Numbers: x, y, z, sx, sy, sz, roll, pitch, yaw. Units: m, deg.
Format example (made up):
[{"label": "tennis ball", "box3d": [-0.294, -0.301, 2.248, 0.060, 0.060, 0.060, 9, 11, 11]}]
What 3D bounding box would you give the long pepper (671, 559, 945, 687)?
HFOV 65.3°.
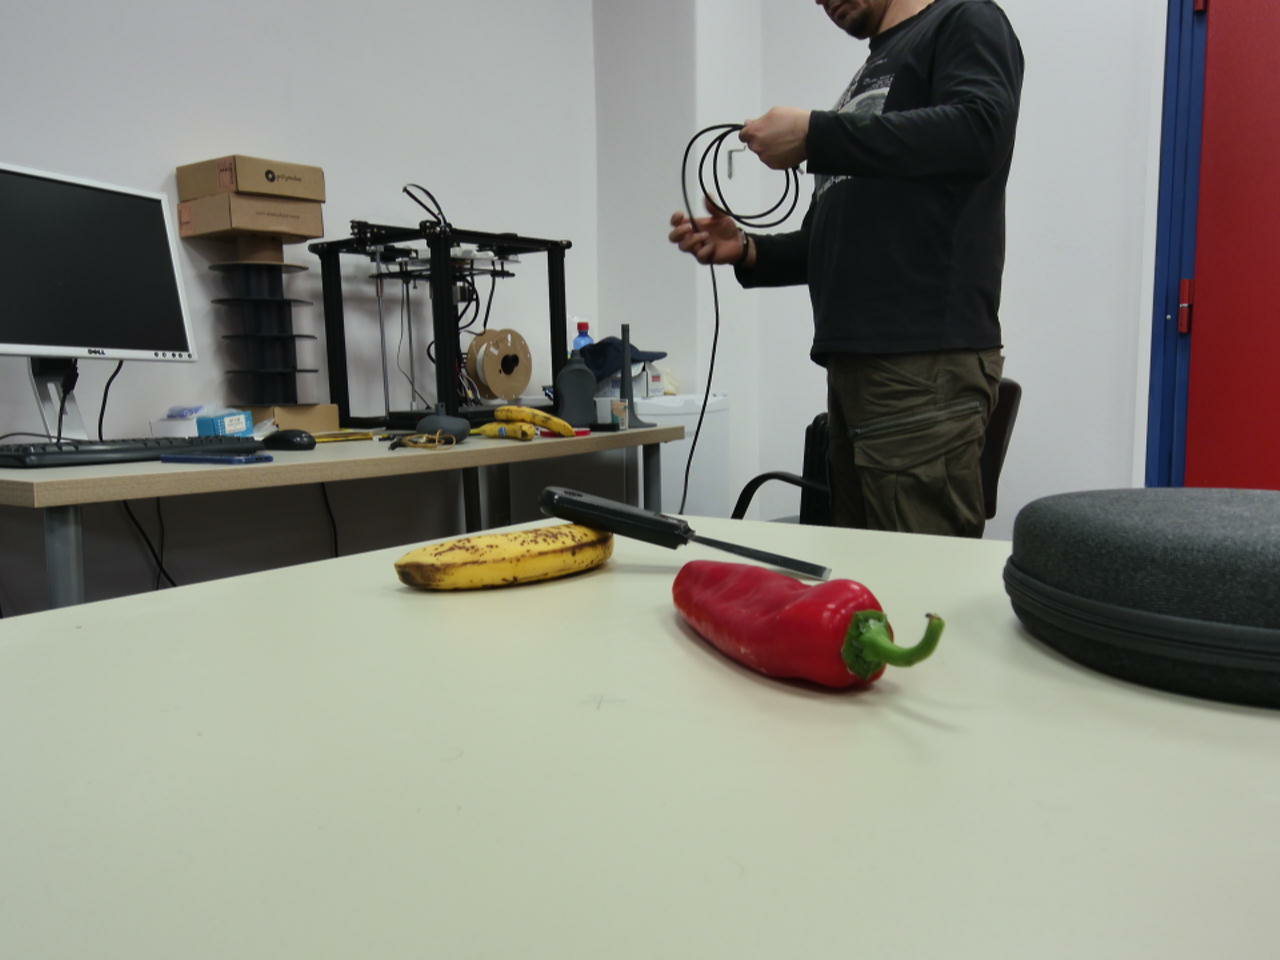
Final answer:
[{"label": "long pepper", "box3d": [0.058, 0.058, 0.447, 0.050, 0.043, 0.211, -1, 4, -21]}]
